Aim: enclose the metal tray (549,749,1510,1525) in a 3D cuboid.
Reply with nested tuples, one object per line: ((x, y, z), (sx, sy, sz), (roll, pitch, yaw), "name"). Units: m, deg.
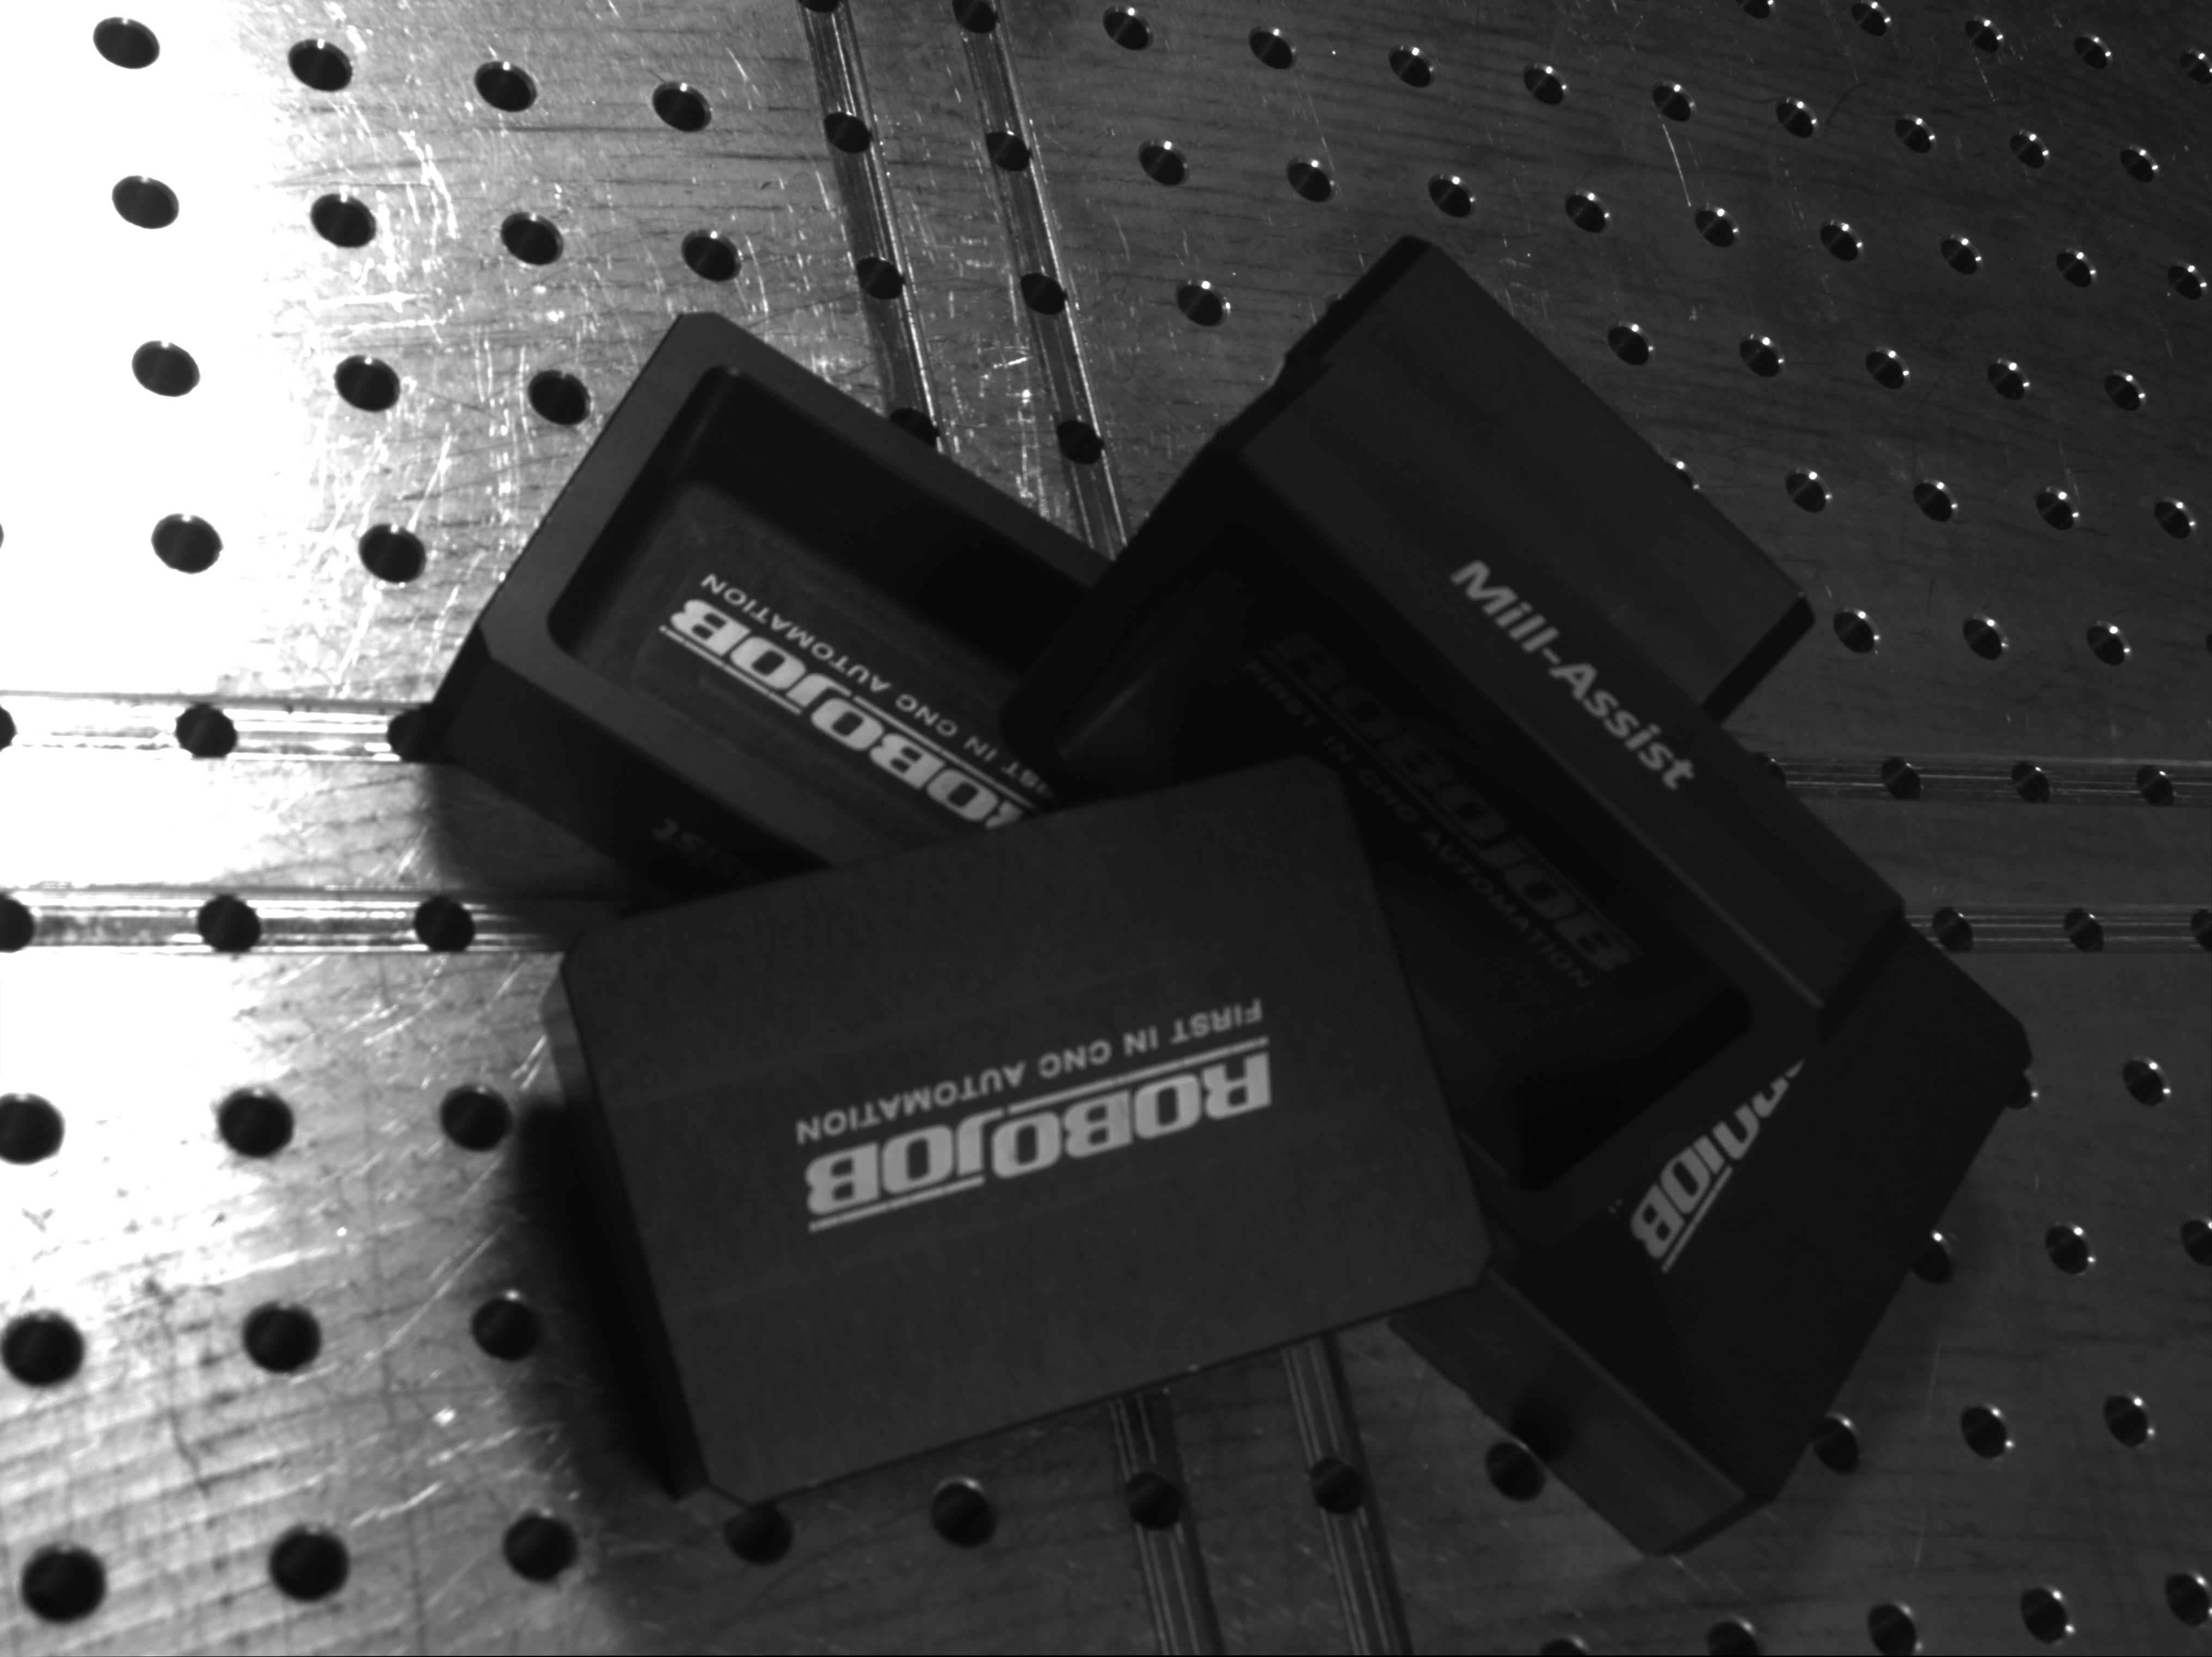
((-0.012, 0.047, 0.574), (0.130, 0.030, 0.090), (-14, 79, -18), "metal tray")

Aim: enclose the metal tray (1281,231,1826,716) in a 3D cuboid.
((0.066, -0.045, 0.639), (0.090, 0.130, 0.030), (44, 79, 2), "metal tray")

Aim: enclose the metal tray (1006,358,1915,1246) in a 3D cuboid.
((0.054, -0.002, 0.592), (0.130, 0.090, 0.030), (44, 51, 2), "metal tray")

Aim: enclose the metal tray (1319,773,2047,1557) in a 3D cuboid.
((0.106, 0.055, 0.662), (0.090, 0.030, 0.130), (42, 51, 0), "metal tray")

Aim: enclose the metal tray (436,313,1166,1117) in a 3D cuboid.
((-0.037, -0.020, 0.632), (0.130, 0.030, 0.090), (32, 52, -8), "metal tray")
